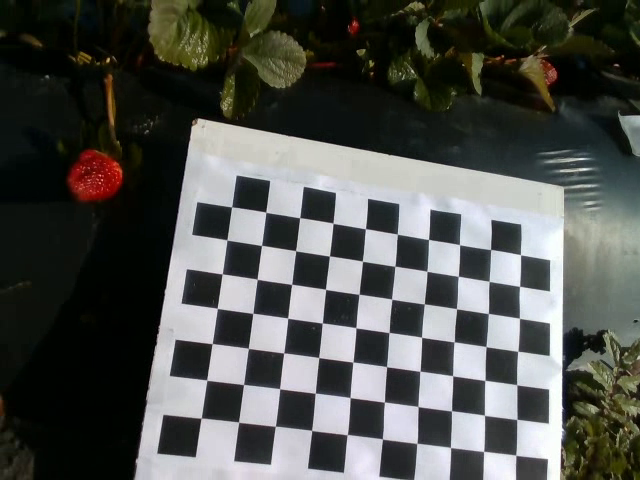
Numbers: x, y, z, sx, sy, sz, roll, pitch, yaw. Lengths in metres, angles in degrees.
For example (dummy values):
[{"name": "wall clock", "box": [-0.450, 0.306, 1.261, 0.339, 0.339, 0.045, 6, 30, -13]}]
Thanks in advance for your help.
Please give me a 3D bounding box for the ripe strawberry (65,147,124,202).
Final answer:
[{"name": "ripe strawberry", "box": [-0.055, -0.016, 0.162, 0.015, 0.015, 0.023, 17, 21, -8]}]
